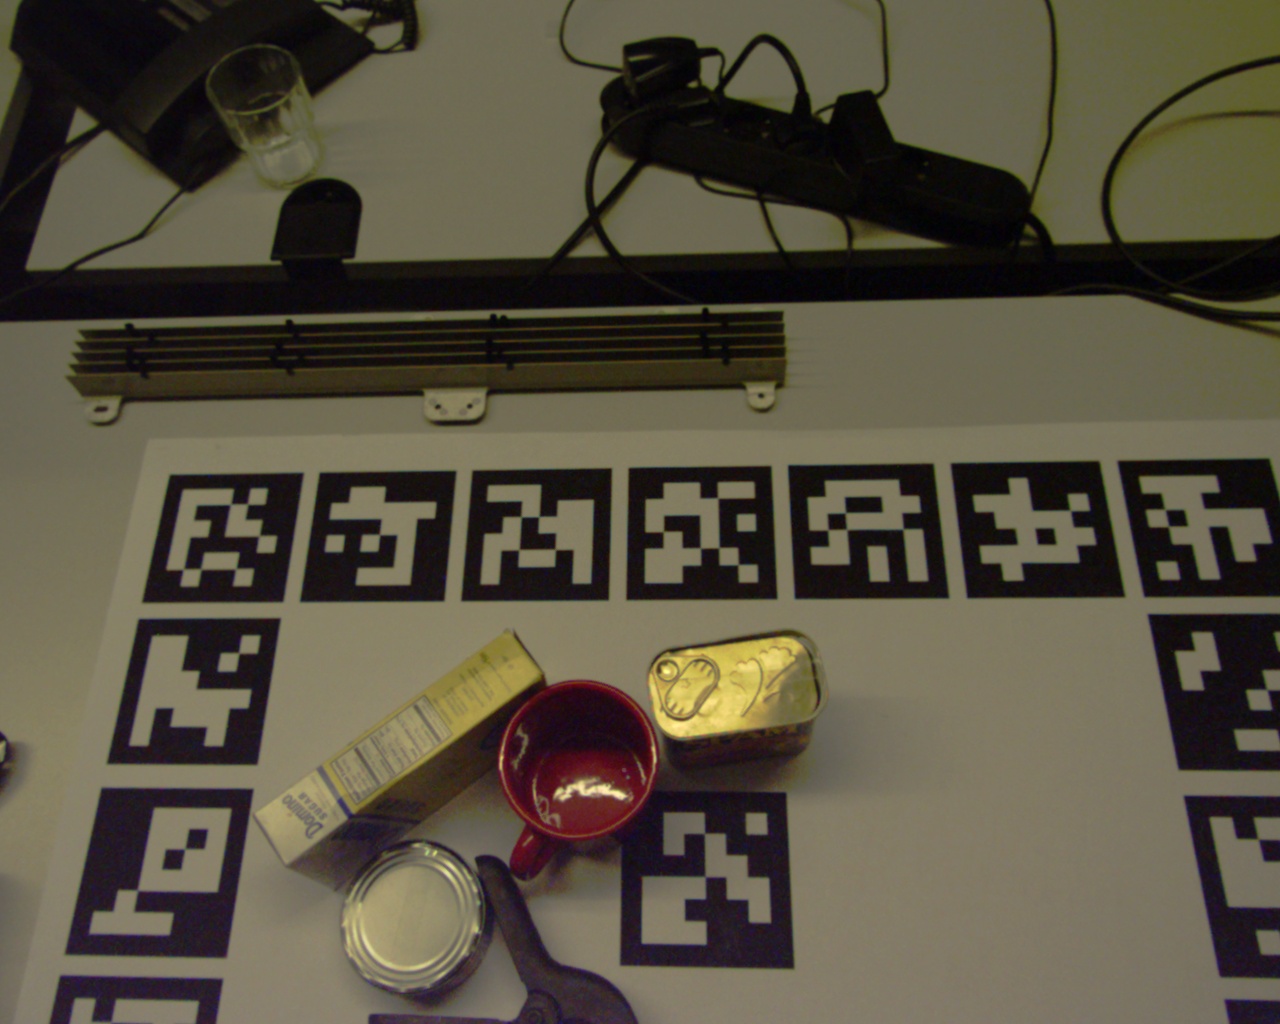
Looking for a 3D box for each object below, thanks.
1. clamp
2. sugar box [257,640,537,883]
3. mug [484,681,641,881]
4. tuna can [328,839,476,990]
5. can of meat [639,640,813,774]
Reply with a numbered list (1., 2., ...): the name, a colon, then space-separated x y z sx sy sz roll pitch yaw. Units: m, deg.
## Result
1. clamp: -0.068 0.298 0.674 0.166 0.036 0.121 34 67 13
2. sugar box: -0.141 0.158 0.715 0.175 0.092 0.046 -35 66 -13
3. mug: -0.049 0.170 0.699 0.094 0.081 0.117 23 70 13
4. tuna can: -0.144 0.247 0.699 0.086 0.033 0.086 -2 67 4
5. can of meat: 0.052 0.126 0.720 0.102 0.083 0.058 -8 64 -1
